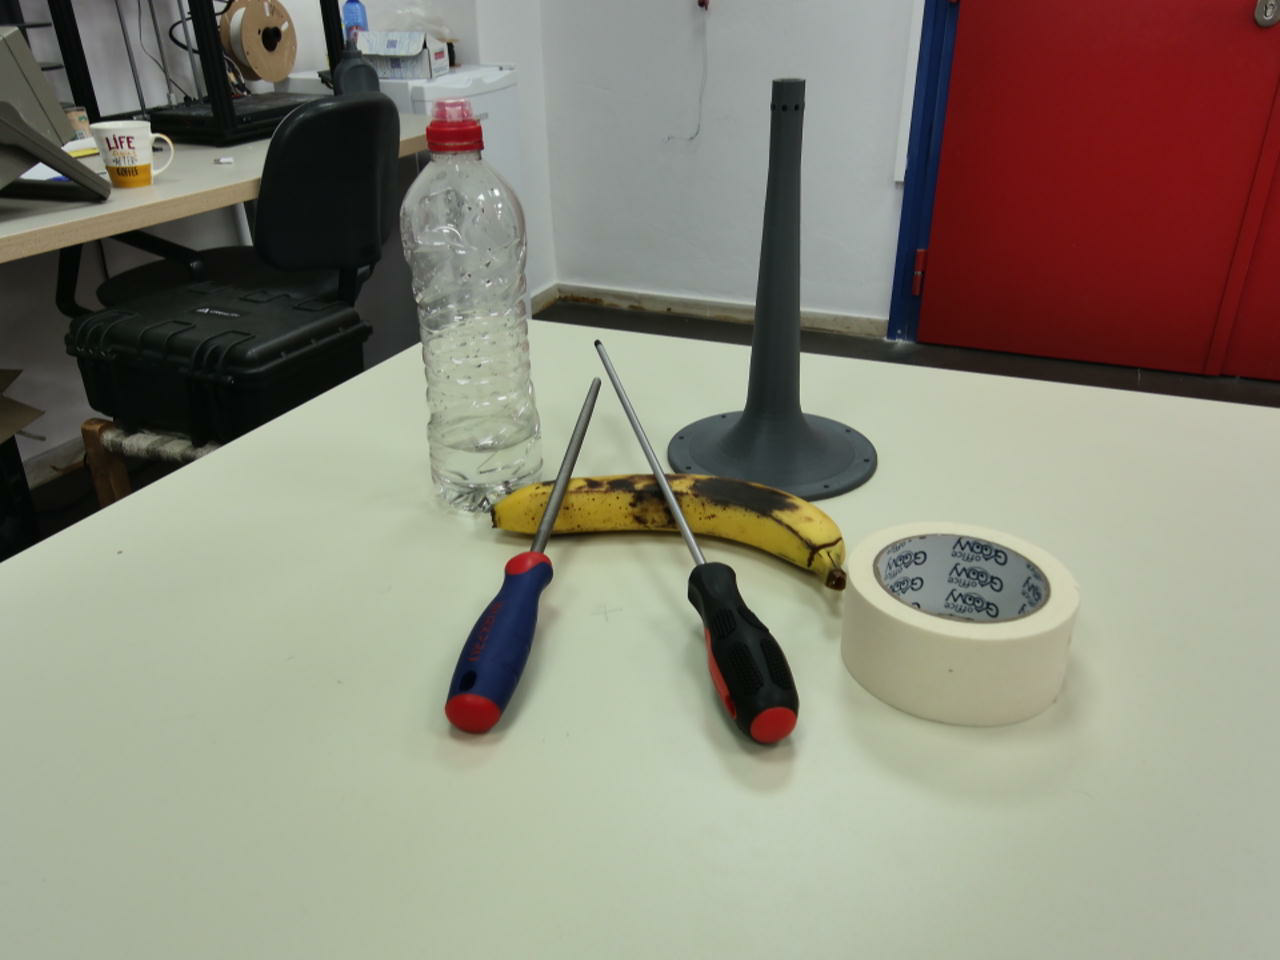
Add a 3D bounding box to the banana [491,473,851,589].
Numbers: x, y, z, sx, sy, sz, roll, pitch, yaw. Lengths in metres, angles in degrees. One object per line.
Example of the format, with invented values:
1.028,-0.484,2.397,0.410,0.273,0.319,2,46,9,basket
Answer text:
0.024,0.022,0.600,0.222,0.037,0.084,11,28,22,banana
